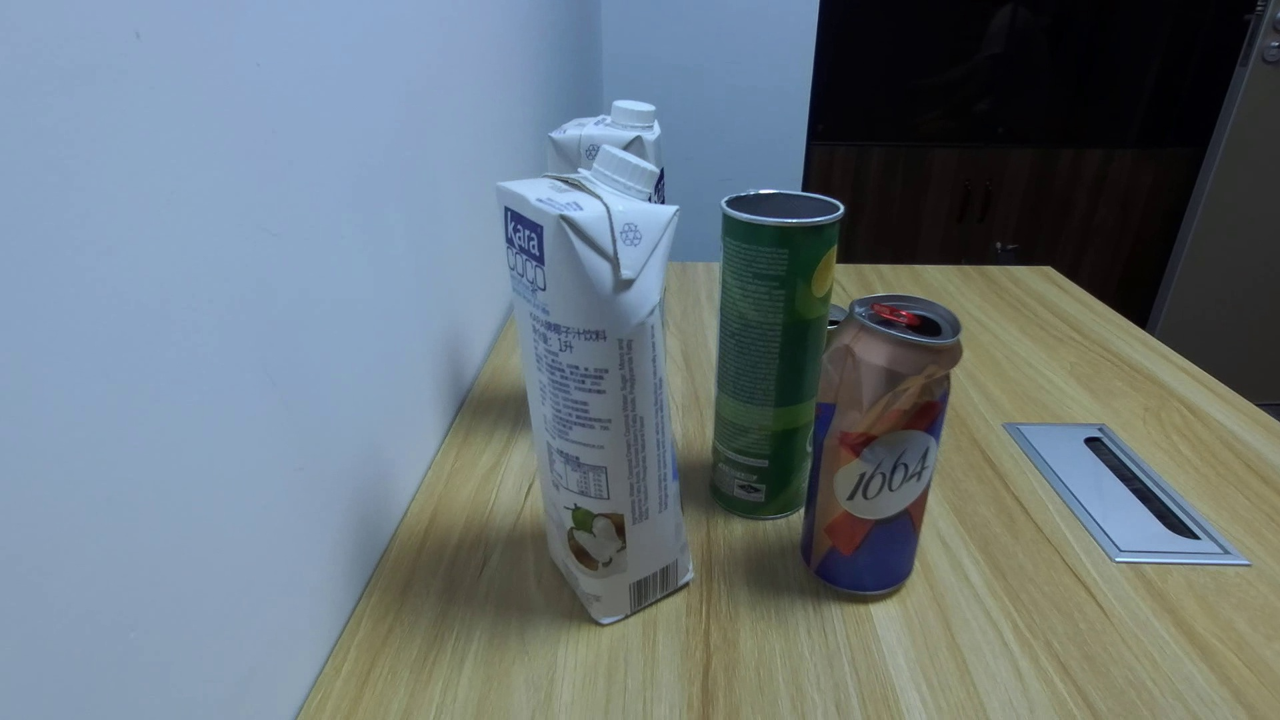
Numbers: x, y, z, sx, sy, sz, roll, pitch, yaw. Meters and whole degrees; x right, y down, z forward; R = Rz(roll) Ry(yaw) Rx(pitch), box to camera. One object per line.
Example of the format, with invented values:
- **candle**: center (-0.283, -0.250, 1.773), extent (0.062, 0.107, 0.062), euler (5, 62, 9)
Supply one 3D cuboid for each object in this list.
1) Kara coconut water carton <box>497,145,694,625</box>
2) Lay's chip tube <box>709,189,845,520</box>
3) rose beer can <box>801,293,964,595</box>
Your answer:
- **Kara coconut water carton**: center (-0.018, 0.017, 0.371), extent (0.071, 0.244, 0.099), euler (-16, 31, -26)
- **Lay's chip tube**: center (0.081, 0.000, 0.444), extent (0.071, 0.202, 0.071), euler (0, 27, 0)
- **rose beer can**: center (0.131, 0.051, 0.387), extent (0.076, 0.167, 0.065), euler (-7, 30, -17)
